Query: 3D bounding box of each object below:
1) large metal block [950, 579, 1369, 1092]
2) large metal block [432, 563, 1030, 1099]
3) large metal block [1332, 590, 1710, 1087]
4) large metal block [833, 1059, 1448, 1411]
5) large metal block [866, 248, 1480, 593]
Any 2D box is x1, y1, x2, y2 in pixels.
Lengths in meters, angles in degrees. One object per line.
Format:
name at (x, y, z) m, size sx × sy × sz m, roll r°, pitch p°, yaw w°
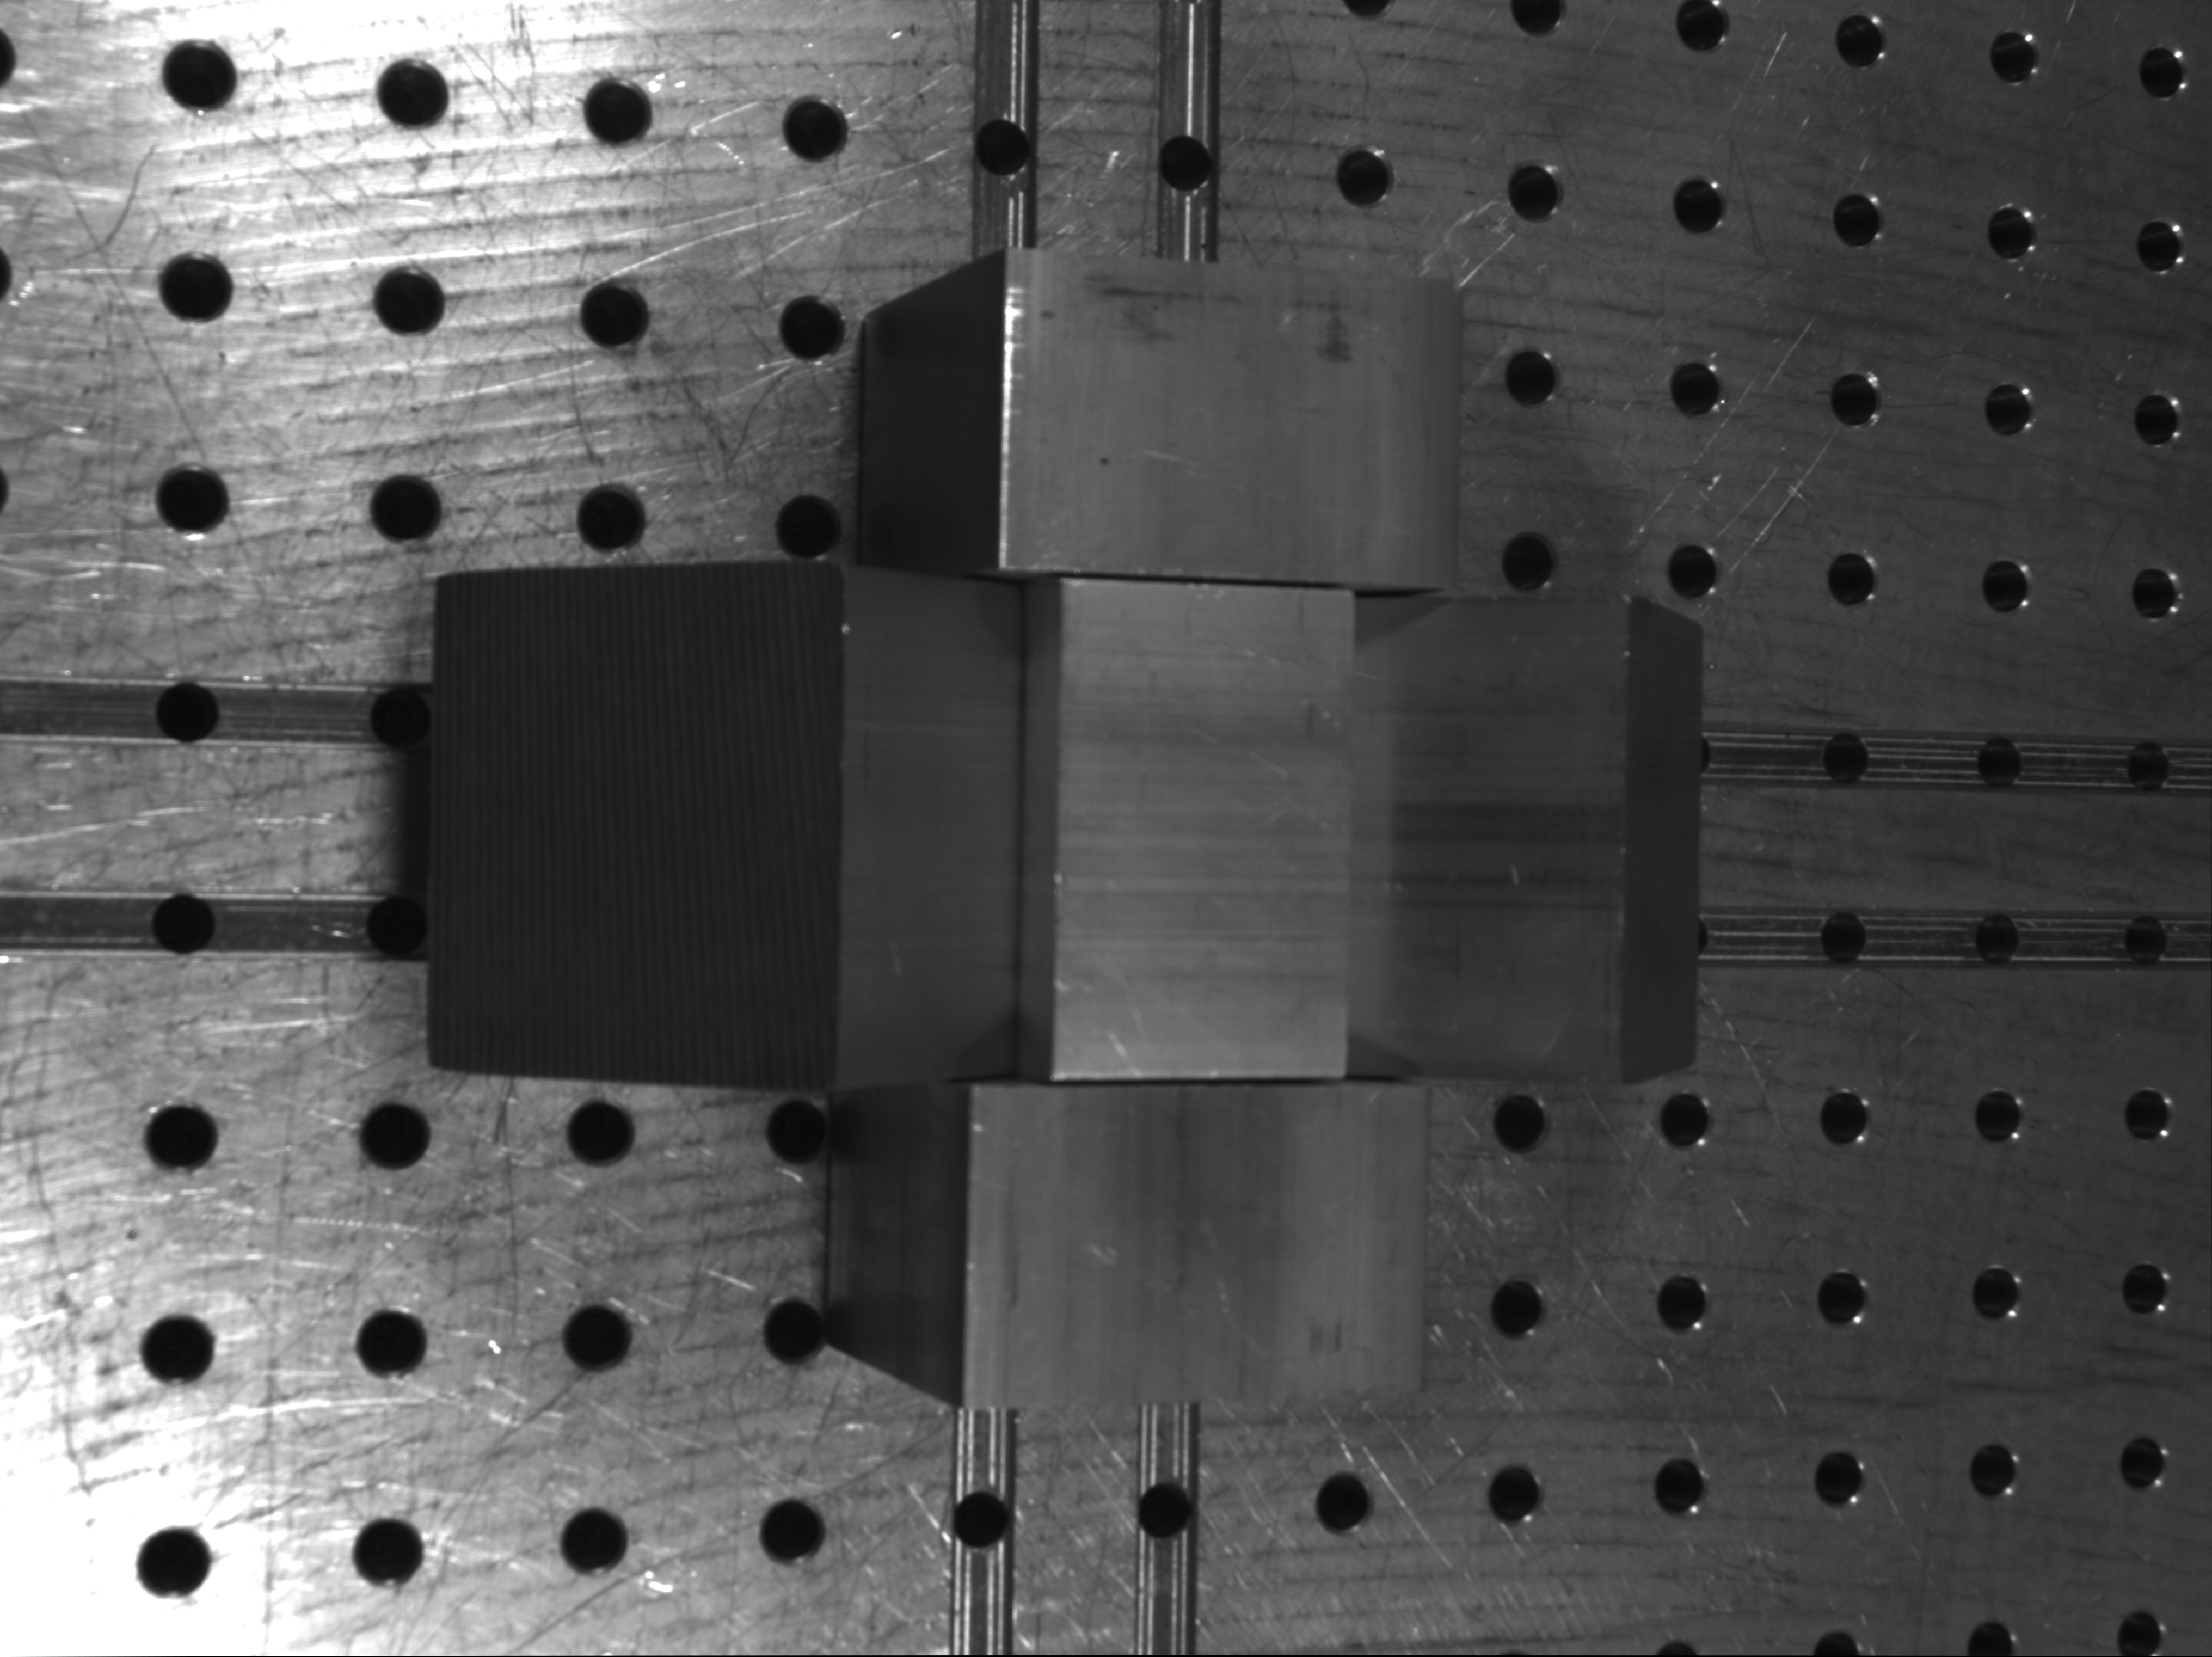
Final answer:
large metal block at (0.005, 0.002, 0.617) m, size 0.050 × 0.080 × 0.080 m, roll 1°, pitch 90°, yaw -20°
large metal block at (-0.060, 0.000, 0.588) m, size 0.050 × 0.080 × 0.080 m, roll 1°, pitch 90°, yaw -59°
large metal block at (0.073, 0.002, 0.634) m, size 0.050 × 0.080 × 0.080 m, roll 1°, pitch 89°, yaw 18°
large metal block at (0.004, 0.066, 0.617) m, size 0.080 × 0.080 × 0.050 m, roll 1°, pitch 89°, yaw -20°
large metal block at (0.009, -0.064, 0.619) m, size 0.080 × 0.080 × 0.050 m, roll 1°, pitch 89°, yaw -20°
